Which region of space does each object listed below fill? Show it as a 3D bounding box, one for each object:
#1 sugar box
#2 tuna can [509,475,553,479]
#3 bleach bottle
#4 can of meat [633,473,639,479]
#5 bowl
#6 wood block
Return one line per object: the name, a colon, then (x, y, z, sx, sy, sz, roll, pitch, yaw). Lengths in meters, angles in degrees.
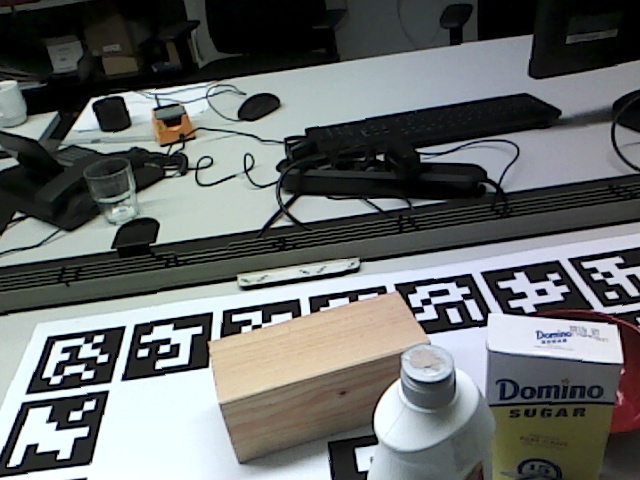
sugar box: (0.177, 0.135, 0.495, 0.093, 0.176, 0.045, 0, 35, 19)
tuna can: (0.170, 0.230, 0.480, 0.086, 0.033, 0.086, -6, 35, 4)
bleach bottle: (0.061, 0.171, 0.404, 0.102, 0.250, 0.068, -24, 34, -22)
can of meat: (0.255, 0.215, 0.449, 0.101, 0.083, 0.058, -25, 32, -27)
bowl: (0.256, 0.132, 0.599, 0.162, 0.055, 0.162, -10, 32, 6)
wood block: (-0.006, 0.137, 0.628, 0.206, 0.089, 0.091, -13, 37, -9)
